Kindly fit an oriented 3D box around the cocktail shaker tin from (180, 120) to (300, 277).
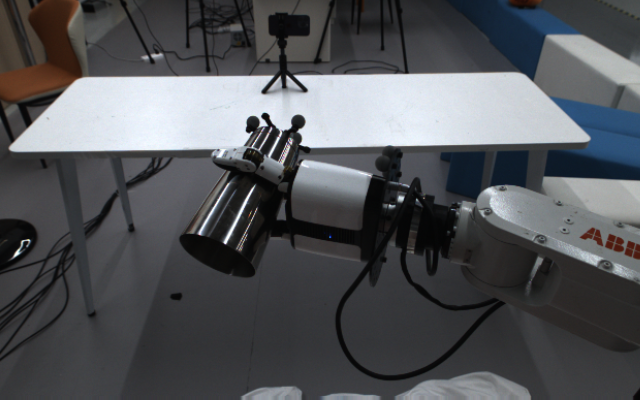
[{"bbox_3d":[-0.086,-0.005,0.576,0.093,0.093,0.170,13,58,16],"label":"cocktail shaker tin"}]
